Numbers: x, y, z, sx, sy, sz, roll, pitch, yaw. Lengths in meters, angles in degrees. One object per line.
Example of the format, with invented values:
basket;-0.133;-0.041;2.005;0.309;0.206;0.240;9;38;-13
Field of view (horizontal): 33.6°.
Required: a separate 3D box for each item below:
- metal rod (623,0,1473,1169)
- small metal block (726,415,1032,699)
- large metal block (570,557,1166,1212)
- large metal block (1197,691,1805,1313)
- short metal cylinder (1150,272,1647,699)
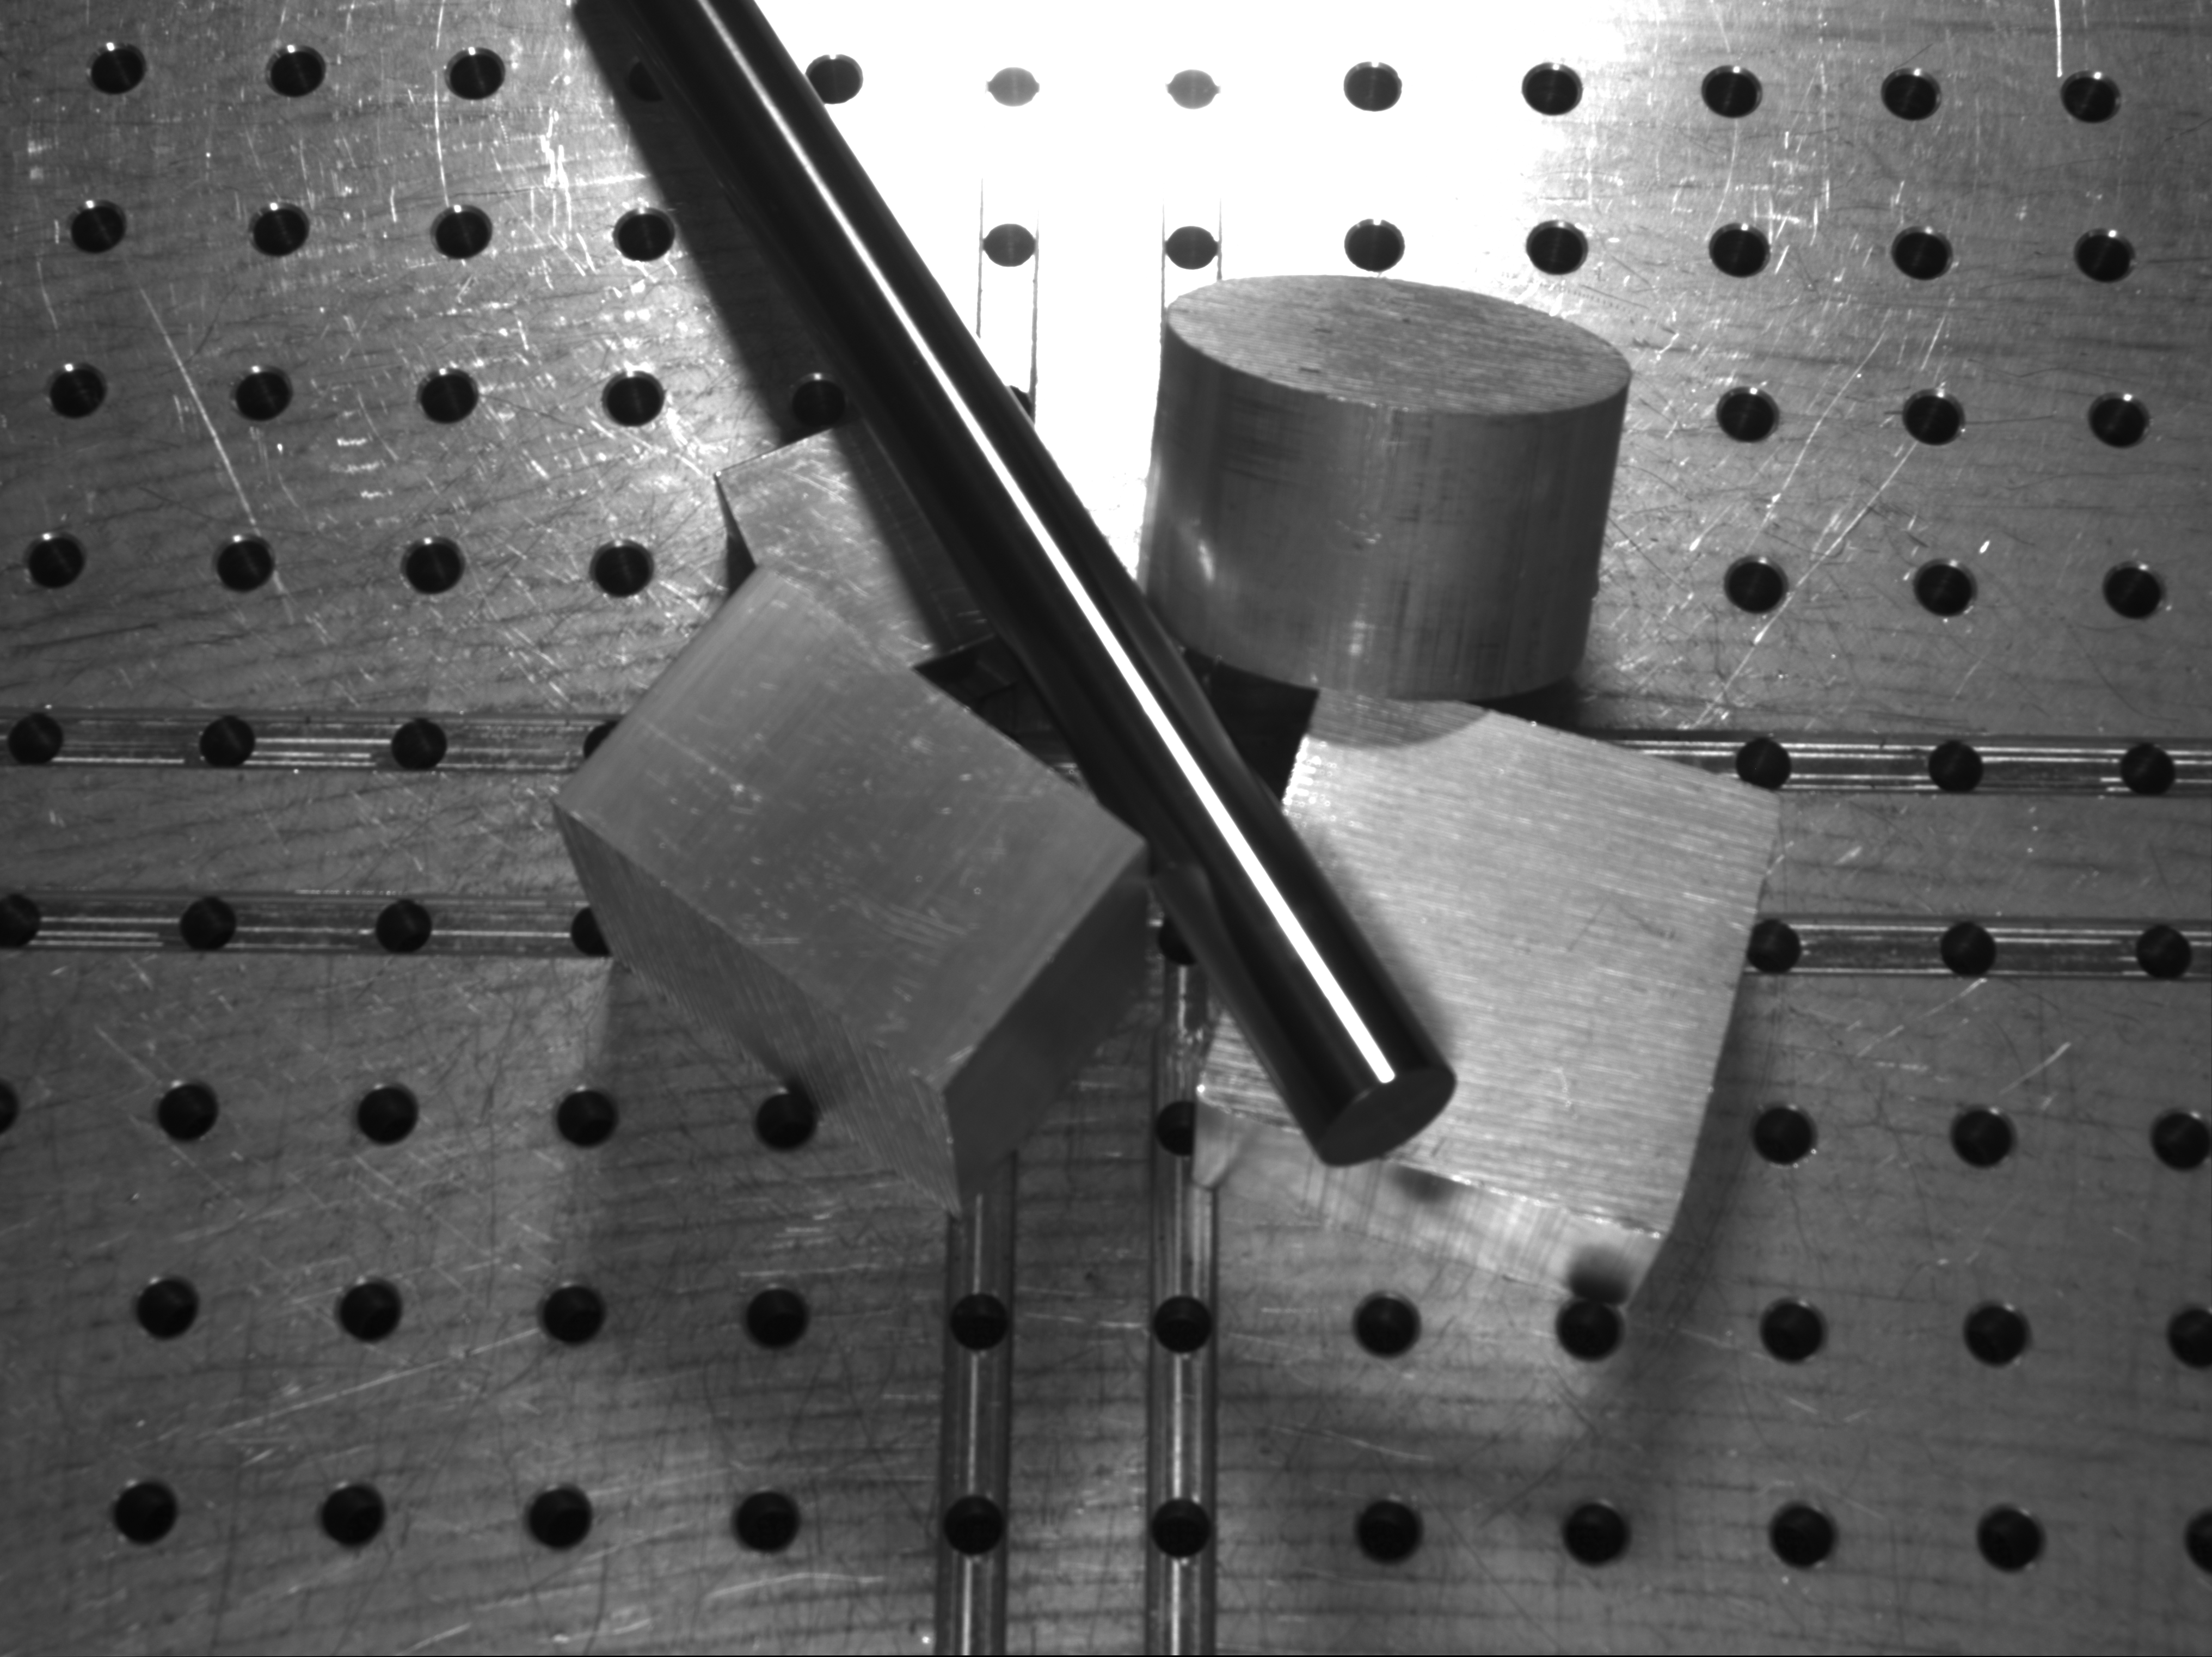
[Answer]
metal rod;-0.022;-0.067;0.640;0.025;0.025;0.299;-26;60;-9
small metal block;-0.035;-0.048;0.665;0.050;0.025;0.050;-23;71;-8
large metal block;-0.037;0.011;0.613;0.080;0.080;0.050;36;74;12
large metal block;0.066;0.028;0.623;0.080;0.050;0.080;17;71;6
short metal cylinder;0.050;-0.061;0.633;0.080;0.080;0.050;8;114;3
